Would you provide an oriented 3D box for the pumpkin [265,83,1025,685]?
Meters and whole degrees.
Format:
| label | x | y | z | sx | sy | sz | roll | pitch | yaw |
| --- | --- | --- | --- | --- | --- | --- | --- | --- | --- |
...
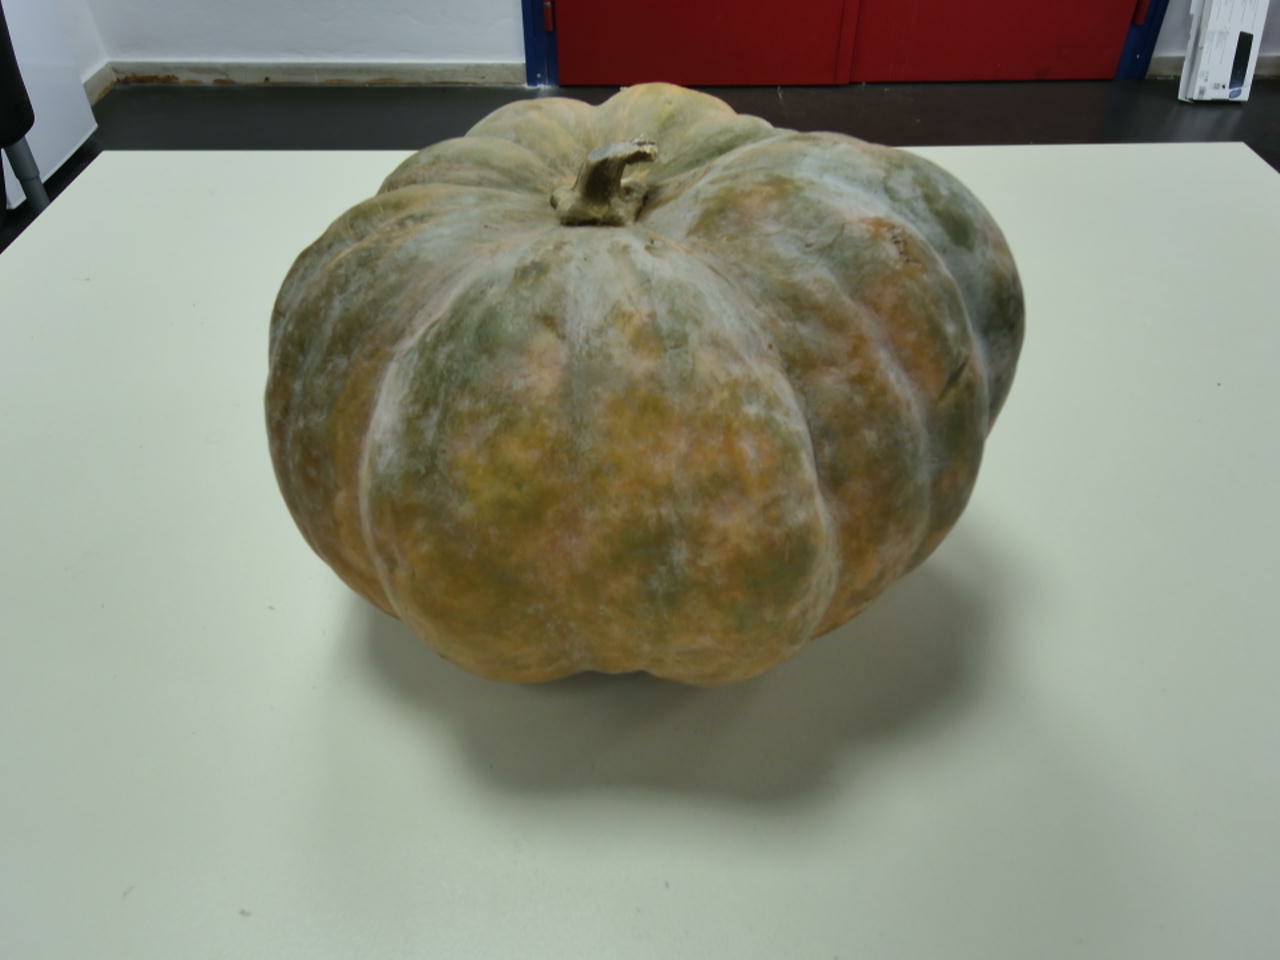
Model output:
| label | x | y | z | sx | sy | sz | roll | pitch | yaw |
| --- | --- | --- | --- | --- | --- | --- | --- | --- | --- |
| pumpkin | -0.006 | -0.039 | 0.354 | 0.252 | 0.169 | 0.251 | 0 | 39 | 0 |
